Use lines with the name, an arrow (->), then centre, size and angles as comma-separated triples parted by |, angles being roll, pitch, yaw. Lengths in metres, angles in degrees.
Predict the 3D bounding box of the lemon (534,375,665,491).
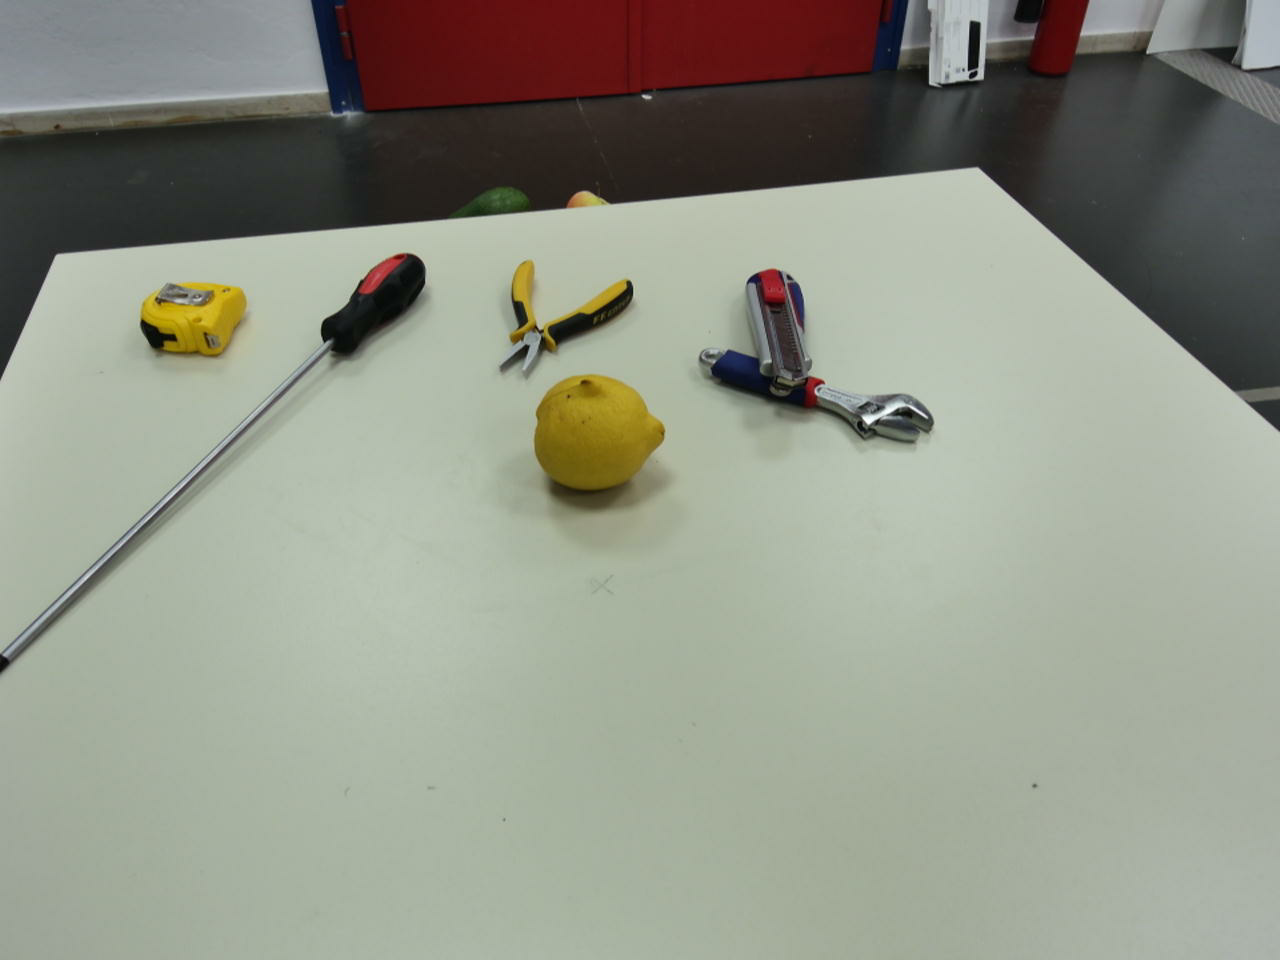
lemon -> -0.028, -0.031, 0.590 | 0.071, 0.071, 0.070 | 32, 48, 32
